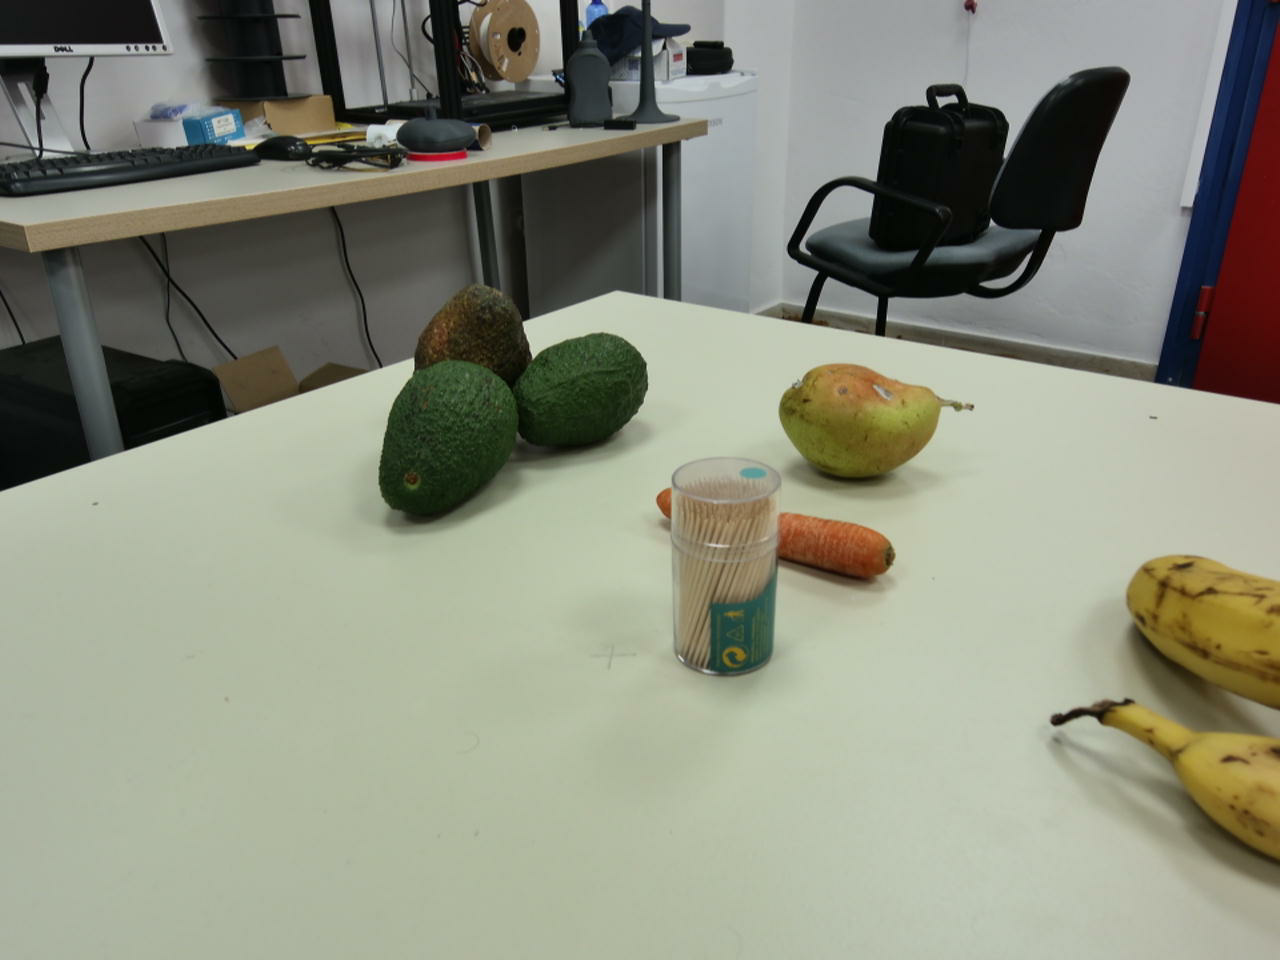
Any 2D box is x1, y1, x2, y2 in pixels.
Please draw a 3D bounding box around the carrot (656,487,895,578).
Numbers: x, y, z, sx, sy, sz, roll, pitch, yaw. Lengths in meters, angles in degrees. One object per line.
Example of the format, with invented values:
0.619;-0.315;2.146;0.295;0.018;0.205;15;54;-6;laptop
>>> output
0.060;0.022;0.466;0.122;0.023;0.024;16;27;32;carrot
